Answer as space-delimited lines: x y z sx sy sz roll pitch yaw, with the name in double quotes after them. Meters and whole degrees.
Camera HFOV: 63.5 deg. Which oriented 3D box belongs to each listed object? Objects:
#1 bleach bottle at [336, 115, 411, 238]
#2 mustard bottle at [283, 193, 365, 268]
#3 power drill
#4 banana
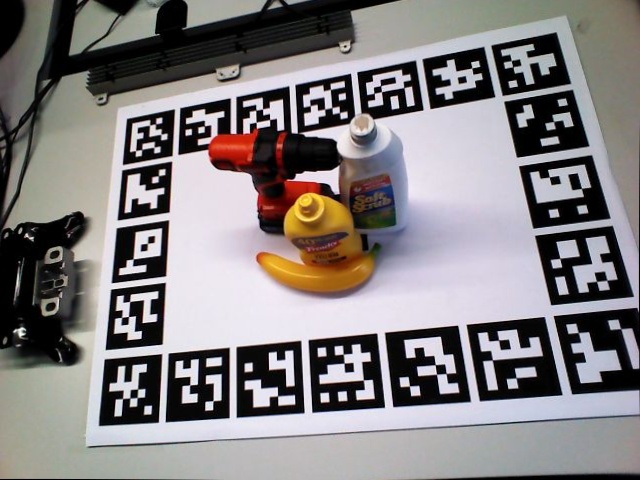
0.064 -0.085 0.682 0.103 0.251 0.067 -4 64 12 "bleach bottle"
0.003 -0.015 0.699 0.096 0.191 0.058 -6 69 11 "mustard bottle"
-0.044 -0.083 0.712 0.185 0.187 0.057 5 71 14 "power drill"
0.003 0.044 0.771 0.198 0.039 0.074 -3 71 15 "banana"
